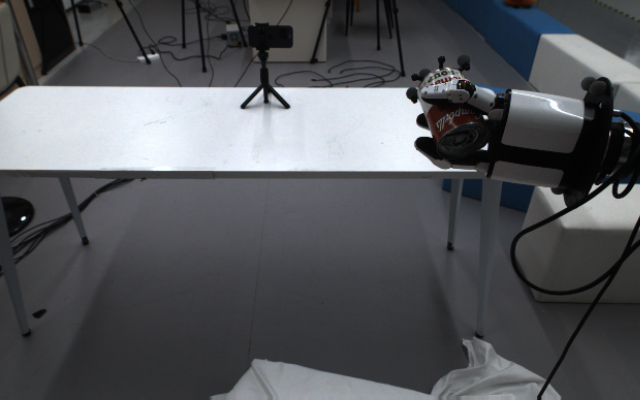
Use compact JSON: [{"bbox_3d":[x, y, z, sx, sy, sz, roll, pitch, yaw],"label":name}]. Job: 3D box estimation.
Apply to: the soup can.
[{"bbox_3d":[0.172,-0.115,0.631,0.067,0.067,0.101,-5,57,-10],"label":"soup can"}]
